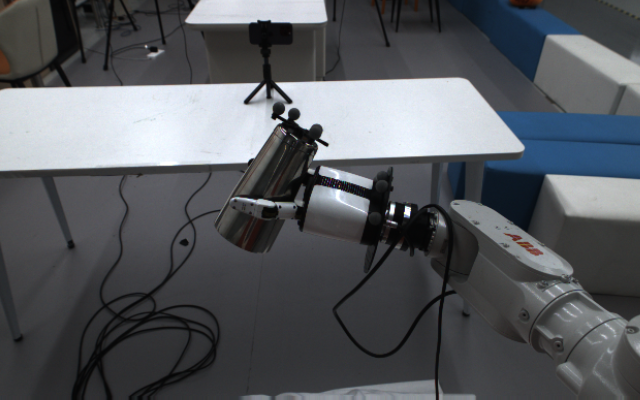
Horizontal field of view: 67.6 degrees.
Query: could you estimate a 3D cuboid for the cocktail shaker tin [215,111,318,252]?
[{"bbox_3d":[-0.071,-0.021,0.691,0.093,0.170,0.093,28,14,-8],"label":"cocktail shaker tin"}]
